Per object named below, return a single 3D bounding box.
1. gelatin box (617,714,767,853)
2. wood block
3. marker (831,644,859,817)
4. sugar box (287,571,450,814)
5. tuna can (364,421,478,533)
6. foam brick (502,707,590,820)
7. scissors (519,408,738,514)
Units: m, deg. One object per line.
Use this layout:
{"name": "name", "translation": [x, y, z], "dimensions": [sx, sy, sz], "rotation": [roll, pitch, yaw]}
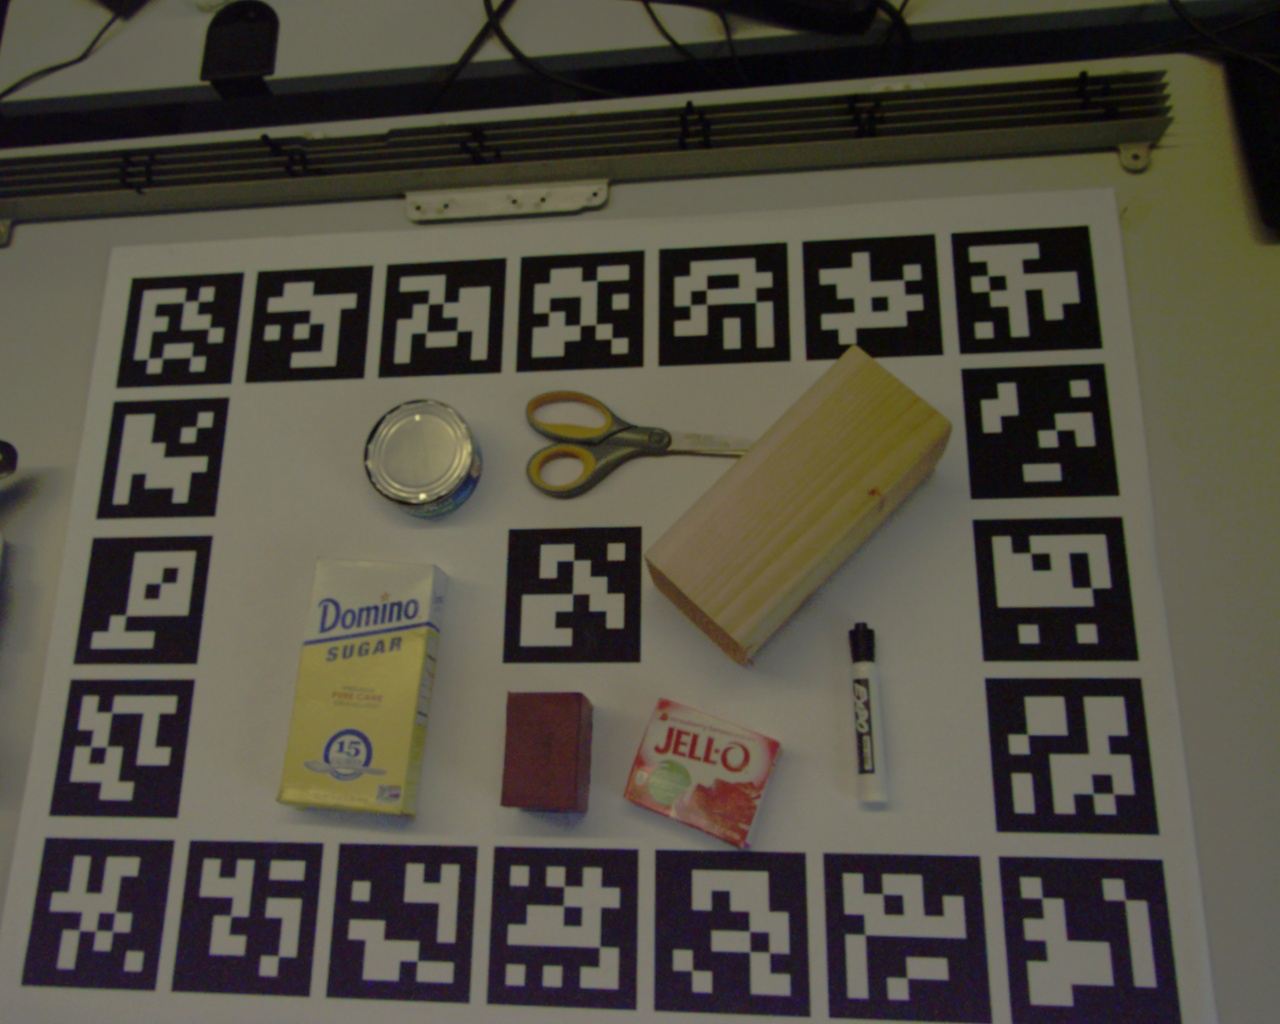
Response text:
{"name": "gelatin box", "translation": [0.038, 0.195, 0.822], "dimensions": [0.090, 0.030, 0.073], "rotation": [18, 79, 13]}
{"name": "wood block", "translation": [0.110, 0.018, 0.832], "dimensions": [0.206, 0.090, 0.090], "rotation": [-45, 73, -6]}
{"name": "marker", "translation": [0.148, 0.156, 0.820], "dimensions": [0.020, 0.019, 0.121], "rotation": [1, 77, 8]}
{"name": "sugar box", "translation": [-0.205, 0.136, 0.869], "dimensions": [0.093, 0.045, 0.176], "rotation": [4, 75, 9]}
{"name": "tuna can", "translation": [-0.174, -0.027, 0.911], "dimensions": [0.086, 0.033, 0.086], "rotation": [-2, 75, 8]}
{"name": "foam brick", "translation": [-0.067, 0.183, 0.826], "dimensions": [0.053, 0.051, 0.078], "rotation": [1, 76, 9]}
{"name": "scissors", "translation": [0.000, -0.033, 0.898], "dimensions": [0.204, 0.016, 0.088], "rotation": [7, 76, 13]}
